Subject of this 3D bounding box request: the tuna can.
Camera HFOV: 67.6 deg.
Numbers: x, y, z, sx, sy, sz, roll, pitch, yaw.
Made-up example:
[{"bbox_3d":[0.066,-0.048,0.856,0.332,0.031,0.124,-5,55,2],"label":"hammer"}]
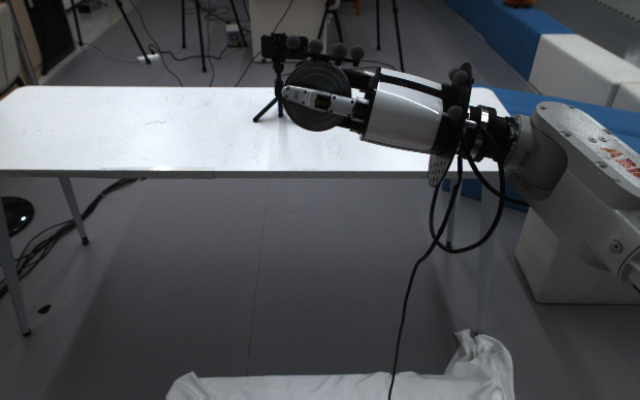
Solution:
[{"bbox_3d":[-0.002,-0.133,0.611,0.085,0.085,0.034,5,18,4],"label":"tuna can"}]
